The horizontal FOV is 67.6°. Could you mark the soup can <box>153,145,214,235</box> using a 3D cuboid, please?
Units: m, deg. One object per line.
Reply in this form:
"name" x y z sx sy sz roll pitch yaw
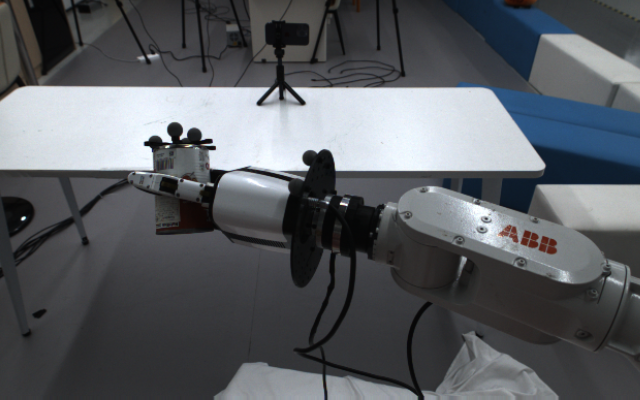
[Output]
"soup can" -0.164 -0.010 0.585 0.067 0.101 0.067 -5 -5 0
